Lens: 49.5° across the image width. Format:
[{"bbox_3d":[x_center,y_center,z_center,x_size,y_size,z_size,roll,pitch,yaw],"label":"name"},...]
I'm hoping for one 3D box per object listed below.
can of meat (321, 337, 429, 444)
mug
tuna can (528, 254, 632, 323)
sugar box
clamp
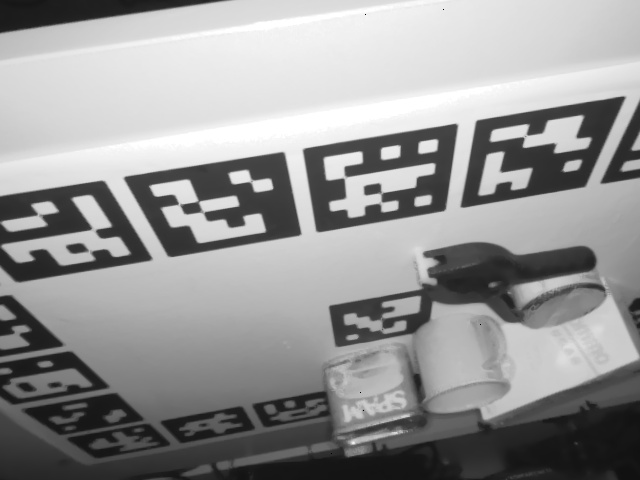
[{"bbox_3d":[0.053,0.154,0.713,0.101,0.084,0.057,-12,144,6],"label":"can of meat"},{"bbox_3d":[0.150,0.116,0.673,0.094,0.082,0.115,8,138,-21],"label":"mug"},{"bbox_3d":[0.236,0.039,0.635,0.086,0.034,0.085,-7,141,-4],"label":"tuna can"},{"bbox_3d":[0.242,0.109,0.690,0.174,0.093,0.046,-32,139,29],"label":"sugar box"},{"bbox_3d":[0.155,0.013,0.591,0.167,0.037,0.120,18,140,-26],"label":"clamp"}]
